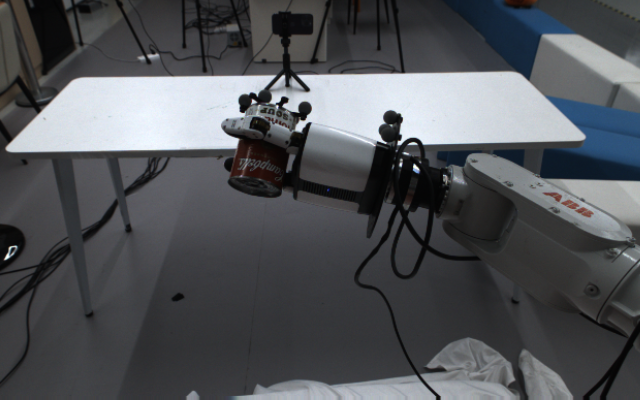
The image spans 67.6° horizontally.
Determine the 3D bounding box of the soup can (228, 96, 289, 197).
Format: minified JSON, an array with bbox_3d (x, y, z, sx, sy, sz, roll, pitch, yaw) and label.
[{"bbox_3d":[-0.070,-0.061,0.604,0.067,0.067,0.101,8,72,9],"label":"soup can"}]
